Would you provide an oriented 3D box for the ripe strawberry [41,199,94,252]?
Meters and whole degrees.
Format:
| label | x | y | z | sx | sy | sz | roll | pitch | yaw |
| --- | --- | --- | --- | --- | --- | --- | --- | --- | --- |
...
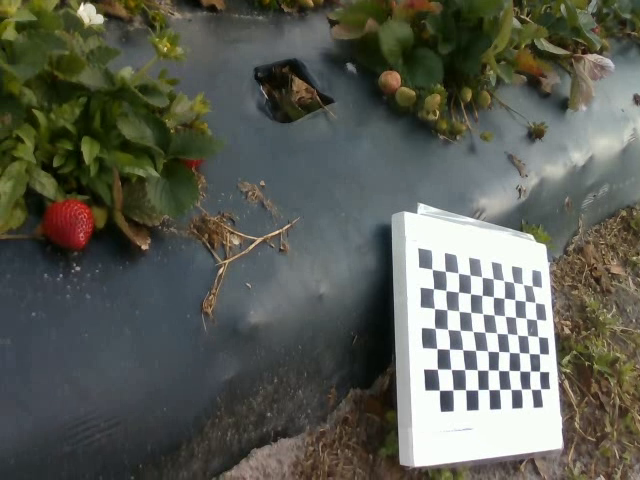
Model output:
| label | x | y | z | sx | sy | sz | roll | pitch | yaw |
| --- | --- | --- | --- | --- | --- | --- | --- | --- | --- |
| ripe strawberry | -0.203 | -0.009 | 0.492 | 0.043 | 0.051 | 0.043 | -11 | -33 | -40 |
